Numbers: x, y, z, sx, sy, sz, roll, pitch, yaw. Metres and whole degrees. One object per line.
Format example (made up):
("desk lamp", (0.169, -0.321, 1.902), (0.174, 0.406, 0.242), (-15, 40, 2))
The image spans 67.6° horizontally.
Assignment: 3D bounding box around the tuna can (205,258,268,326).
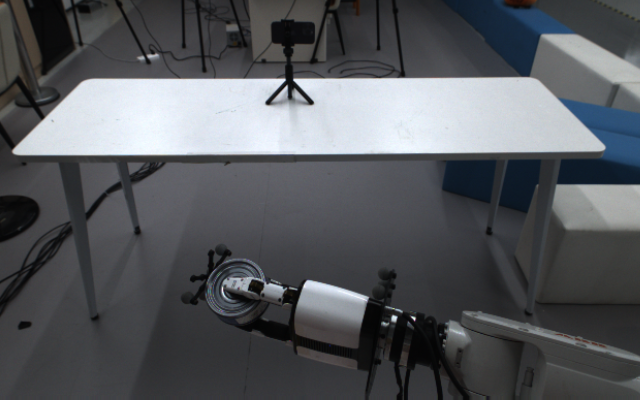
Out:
("tuna can", (-0.106, 0.128, 0.648), (0.085, 0.034, 0.085), (-3, 59, 5))
